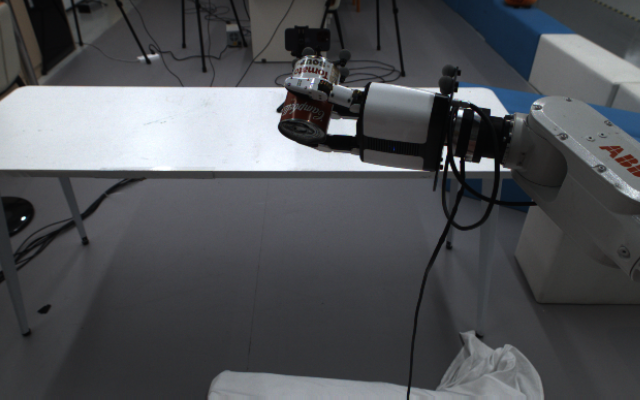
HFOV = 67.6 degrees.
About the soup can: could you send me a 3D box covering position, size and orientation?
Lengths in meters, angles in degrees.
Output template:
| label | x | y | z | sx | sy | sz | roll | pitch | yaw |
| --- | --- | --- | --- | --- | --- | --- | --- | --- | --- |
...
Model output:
| label | x | y | z | sx | sy | sz | roll | pitch | yaw |
| --- | --- | --- | --- | --- | --- | --- | --- | --- | --- |
| soup can | -0.014 | -0.138 | 0.667 | 0.067 | 0.067 | 0.101 | 9 | 72 | 10 |
